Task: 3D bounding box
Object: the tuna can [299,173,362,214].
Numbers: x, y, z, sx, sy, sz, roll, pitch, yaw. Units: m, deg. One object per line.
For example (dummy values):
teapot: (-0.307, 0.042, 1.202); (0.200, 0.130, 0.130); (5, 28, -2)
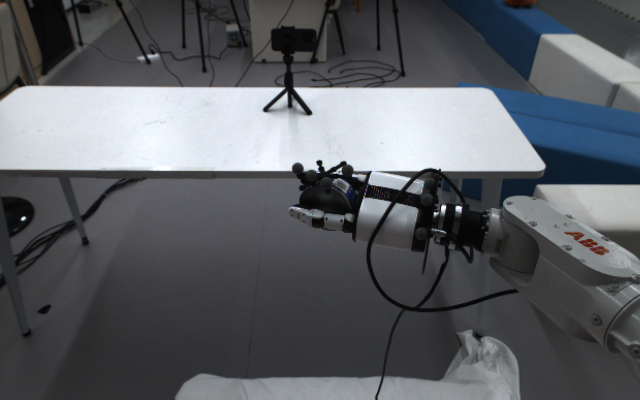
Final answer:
tuna can: (0.015, 0.003, 0.738); (0.085, 0.085, 0.034); (14, 40, 16)
